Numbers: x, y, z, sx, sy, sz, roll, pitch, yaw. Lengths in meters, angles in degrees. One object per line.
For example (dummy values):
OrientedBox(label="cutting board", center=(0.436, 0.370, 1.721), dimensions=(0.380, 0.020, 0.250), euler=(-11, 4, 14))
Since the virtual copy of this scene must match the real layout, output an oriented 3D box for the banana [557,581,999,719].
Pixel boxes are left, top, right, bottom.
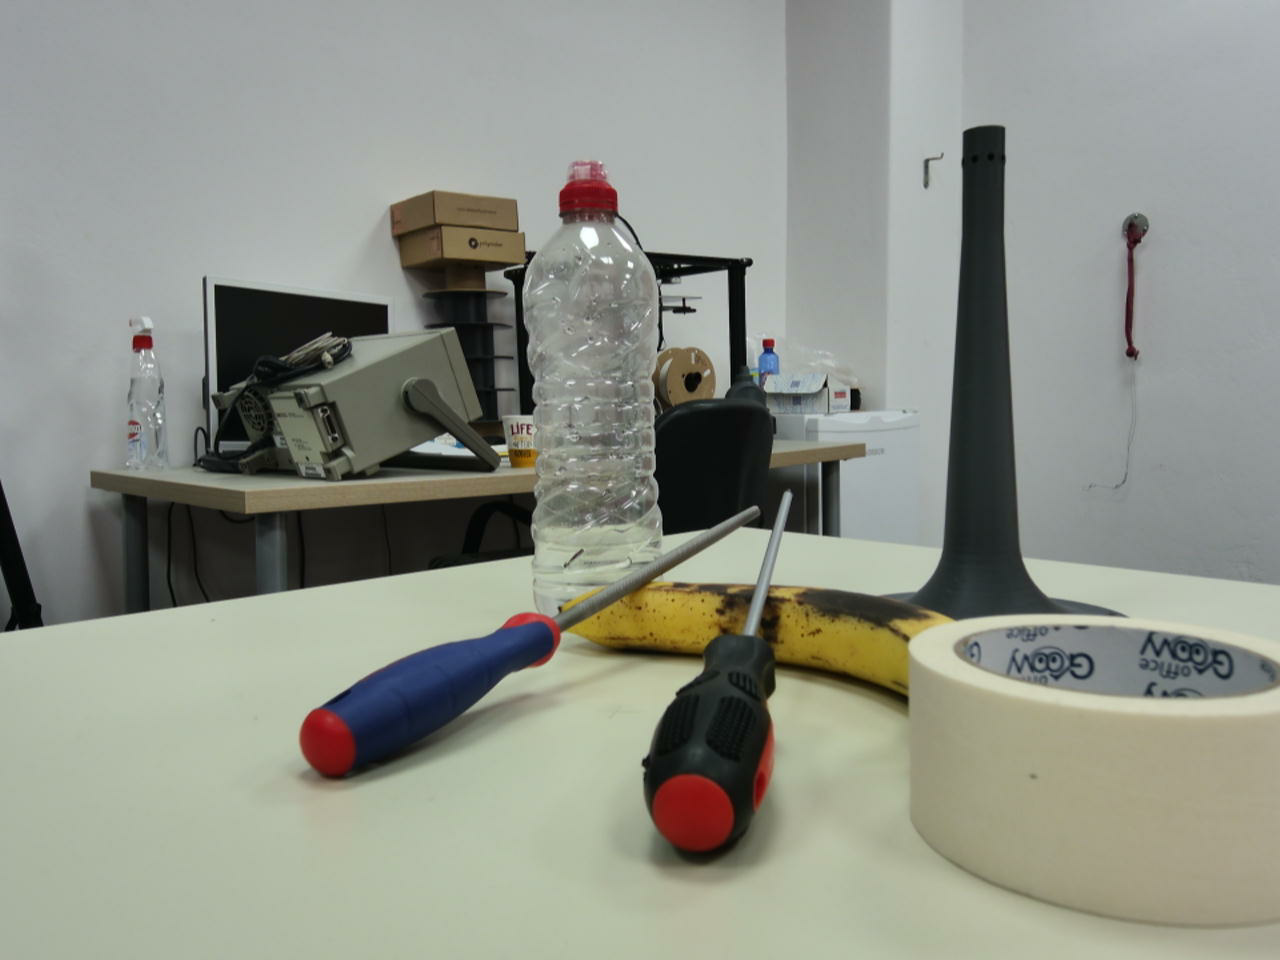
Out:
OrientedBox(label="banana", center=(0.061, 0.068, 0.441), dimensions=(0.084, 0.037, 0.222), euler=(-2, 4, -40))
